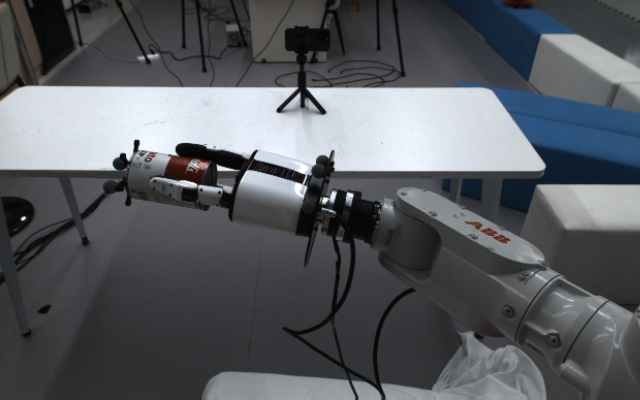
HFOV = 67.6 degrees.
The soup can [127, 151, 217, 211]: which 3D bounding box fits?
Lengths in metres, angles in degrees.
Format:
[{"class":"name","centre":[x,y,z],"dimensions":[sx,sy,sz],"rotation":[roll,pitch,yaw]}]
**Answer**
[{"class":"soup can","centre":[-0.194,-0.026,0.643],"dimensions":[0.101,0.067,0.067],"rotation":[9,35,2]}]
